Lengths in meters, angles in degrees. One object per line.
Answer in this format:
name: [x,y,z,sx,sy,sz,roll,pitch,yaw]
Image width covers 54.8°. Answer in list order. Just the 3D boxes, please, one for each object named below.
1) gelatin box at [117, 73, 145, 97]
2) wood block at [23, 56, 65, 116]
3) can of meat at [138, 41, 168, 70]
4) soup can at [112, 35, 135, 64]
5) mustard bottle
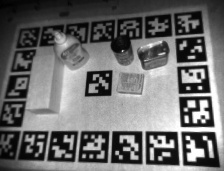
gelatin box: [0.067,-0.001,0.755,0.088,0.030,0.073,7,75,17]
wood block: [-0.243,0.003,0.795,0.090,0.090,0.205,-1,67,11]
can of meat: [0.139,-0.101,0.750,0.101,0.084,0.057,-16,69,5]
soup can: [0.041,-0.124,0.759,0.067,0.103,0.068,-4,72,13]
mustard bottle: [-0.156,-0.117,0.766,0.096,0.193,0.058,-27,66,2]
